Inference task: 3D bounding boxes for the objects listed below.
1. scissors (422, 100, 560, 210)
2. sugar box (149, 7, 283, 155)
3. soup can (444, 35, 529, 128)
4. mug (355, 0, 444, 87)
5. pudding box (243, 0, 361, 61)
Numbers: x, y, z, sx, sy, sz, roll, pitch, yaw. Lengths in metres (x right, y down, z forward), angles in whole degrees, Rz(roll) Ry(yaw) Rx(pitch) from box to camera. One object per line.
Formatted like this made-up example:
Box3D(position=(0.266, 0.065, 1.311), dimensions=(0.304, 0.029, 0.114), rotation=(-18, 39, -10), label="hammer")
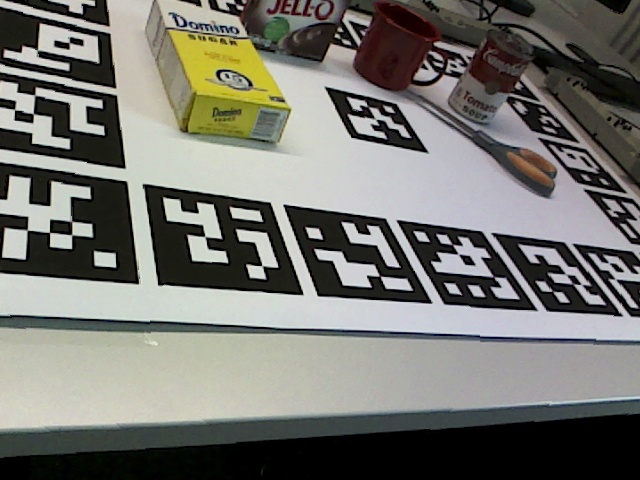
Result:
Box3D(position=(0.210, -0.117, 0.770), dimensions=(0.203, 0.016, 0.087), rotation=(38, 49, 8), label="scissors")
Box3D(position=(-0.105, -0.157, 0.601), dimensions=(0.092, 0.045, 0.177), rotation=(1, 48, -29), label="sugar box")
Box3D(position=(0.218, -0.208, 0.819), dimensions=(0.067, 0.102, 0.068), rotation=(17, 40, -15), label="soup can")
Box3D(position=(0.105, -0.245, 0.792), dimensions=(0.117, 0.081, 0.093), rotation=(40, 42, 14), label="mug")
Box3D(position=(-0.022, -0.261, 0.718), dimensions=(0.113, 0.090, 0.039), rotation=(-3, 56, -35), label="pudding box")
